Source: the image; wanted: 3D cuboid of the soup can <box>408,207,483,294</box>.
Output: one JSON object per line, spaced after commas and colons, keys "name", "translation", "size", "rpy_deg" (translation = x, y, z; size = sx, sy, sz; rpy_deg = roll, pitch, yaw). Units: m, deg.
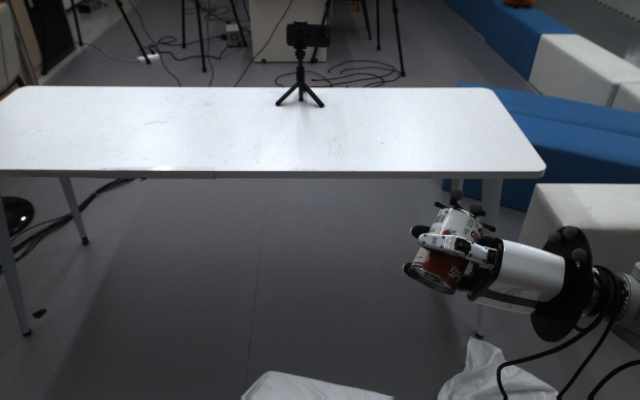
{"name": "soup can", "translation": [0.175, 0.067, 0.661], "size": [0.067, 0.067, 0.101], "rpy_deg": [23, 72, 27]}
